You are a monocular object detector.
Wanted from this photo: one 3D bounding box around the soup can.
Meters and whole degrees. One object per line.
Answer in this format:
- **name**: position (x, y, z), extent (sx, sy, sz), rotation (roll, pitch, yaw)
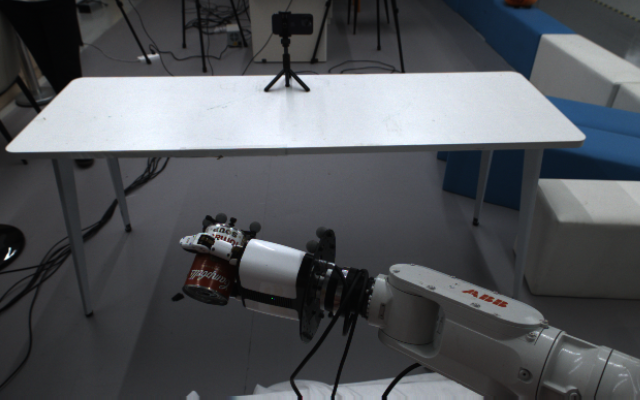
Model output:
- **soup can**: position (-0.149, 0.093, 0.700), extent (0.067, 0.067, 0.101), rotation (9, 58, 10)
